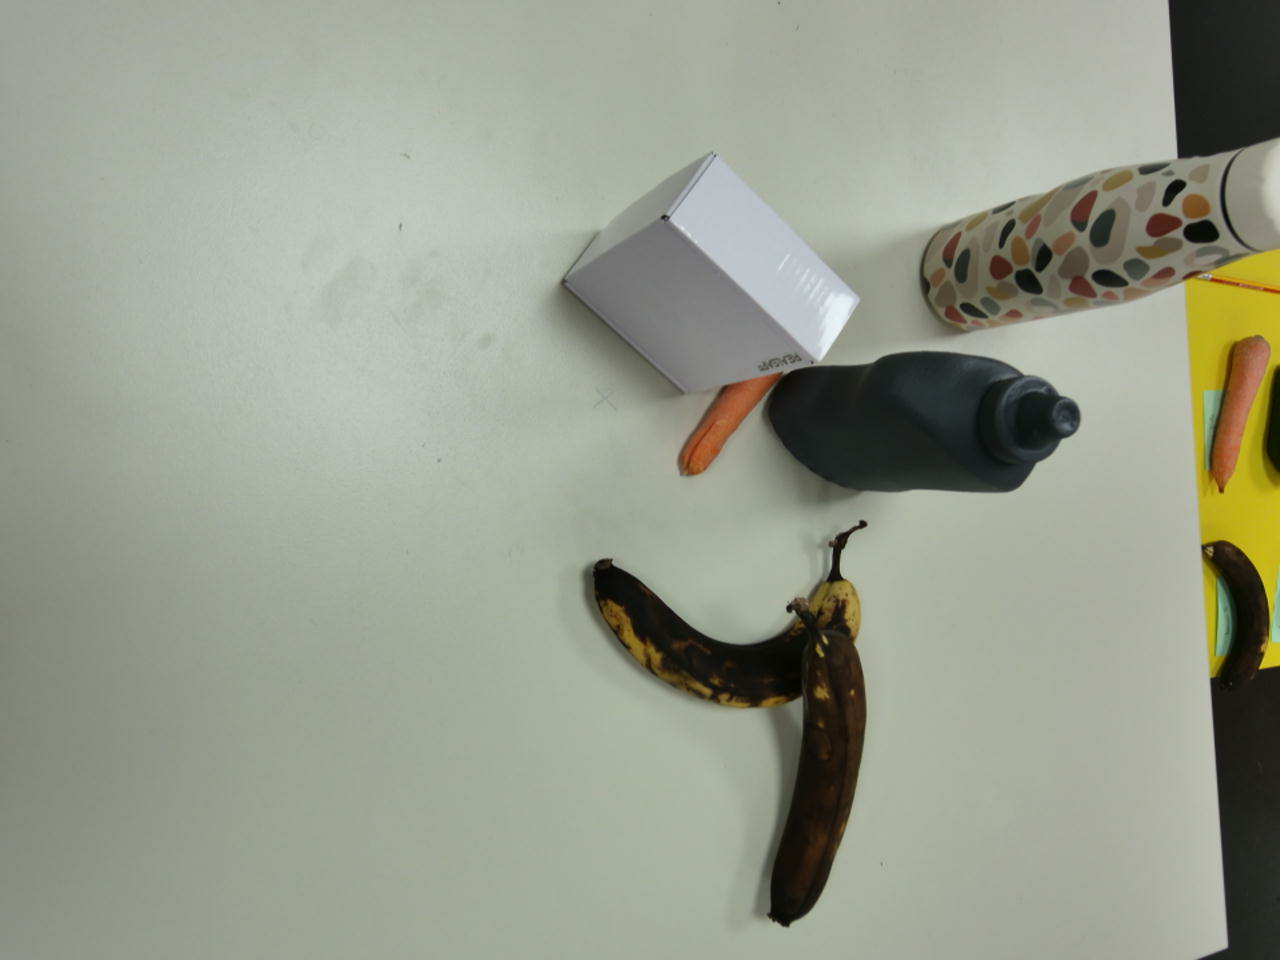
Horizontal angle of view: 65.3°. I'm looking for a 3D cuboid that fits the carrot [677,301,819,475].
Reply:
[{"bbox_3d":[0.066,-0.058,0.613,0.030,0.032,0.136,41,75,-18],"label":"carrot"}]
